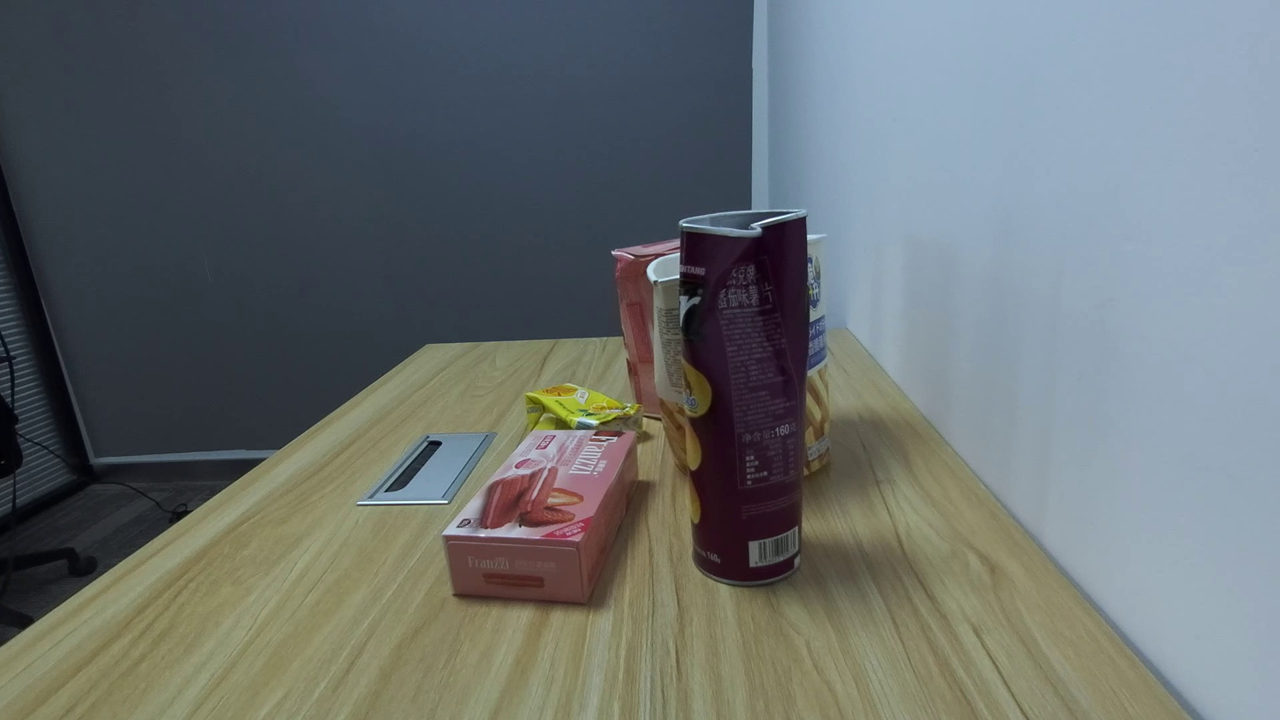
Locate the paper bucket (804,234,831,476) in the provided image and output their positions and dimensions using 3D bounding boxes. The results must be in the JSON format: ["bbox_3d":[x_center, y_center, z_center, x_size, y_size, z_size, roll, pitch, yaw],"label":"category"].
[{"bbox_3d":[0.097,-0.003,0.633,0.147,0.199,0.218,-1,15,10],"label":"paper bucket"}]

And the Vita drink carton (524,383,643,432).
[{"bbox_3d":[-0.058,0.059,0.724,0.107,0.042,0.087,15,17,37],"label":"Vita drink carton"}]

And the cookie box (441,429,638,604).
[{"bbox_3d":[-0.065,0.108,0.540,0.096,0.048,0.184,-1,17,11],"label":"cookie box"}]

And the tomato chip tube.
[{"bbox_3d":[0.071,0.025,0.462,0.077,0.235,0.076,2,18,14],"label":"tomato chip tube"}]
